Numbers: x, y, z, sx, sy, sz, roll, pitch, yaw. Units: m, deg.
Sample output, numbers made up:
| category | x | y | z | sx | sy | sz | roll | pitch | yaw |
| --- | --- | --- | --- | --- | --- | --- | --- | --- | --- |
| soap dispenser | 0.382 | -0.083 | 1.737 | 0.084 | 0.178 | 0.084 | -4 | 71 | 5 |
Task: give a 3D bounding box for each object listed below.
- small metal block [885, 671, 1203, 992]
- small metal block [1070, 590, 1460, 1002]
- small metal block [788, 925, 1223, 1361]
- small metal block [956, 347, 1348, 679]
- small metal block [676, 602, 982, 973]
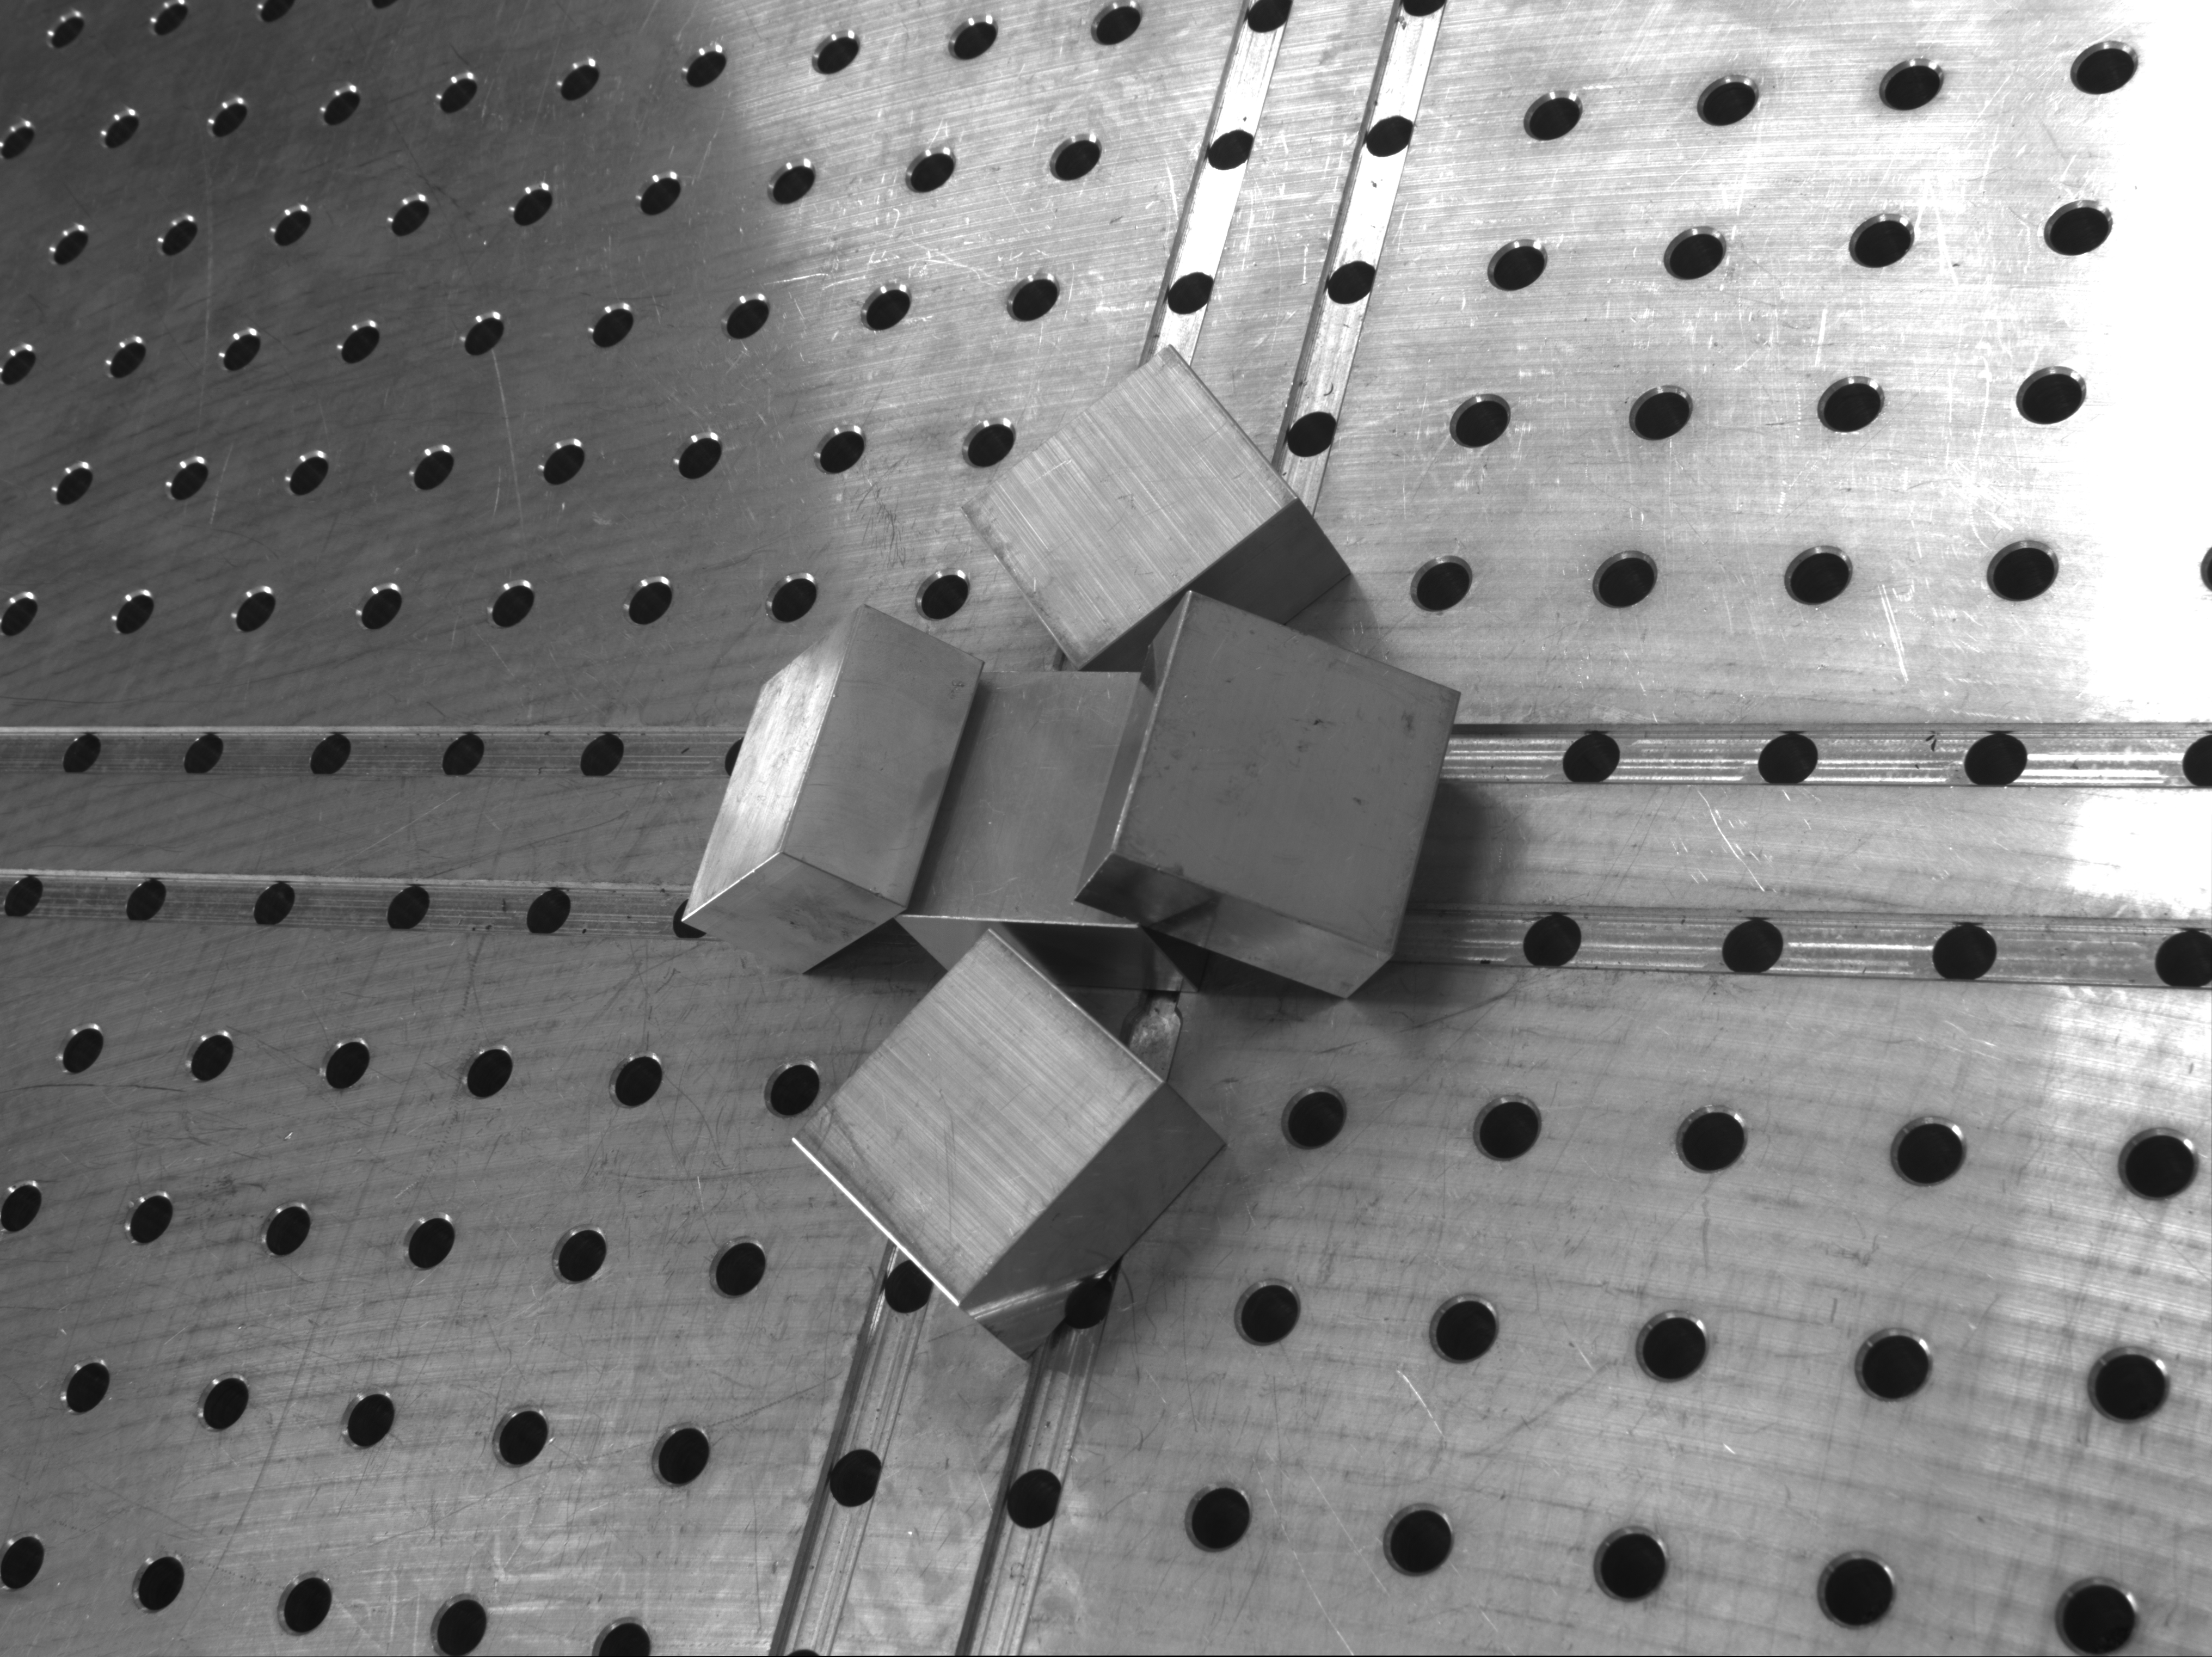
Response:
| category | x | y | z | sx | sy | sz | roll | pitch | yaw |
| --- | --- | --- | --- | --- | --- | --- | --- | --- | --- |
| small metal block | -0.005 | 0.000 | 0.651 | 0.050 | 0.025 | 0.050 | 1 | 61 | 29 |
| small metal block | 0.027 | -0.005 | 0.620 | 0.050 | 0.025 | 0.050 | 20 | 66 | -7 |
| small metal block | -0.017 | 0.053 | 0.625 | 0.050 | 0.025 | 0.050 | -47 | 49 | -4 |
| small metal block | 0.008 | -0.053 | 0.677 | 0.050 | 0.025 | 0.050 | -37 | 50 | 3 |
| small metal block | -0.050 | -0.007 | 0.664 | 0.050 | 0.025 | 0.050 | -29 | 40 | 59 |
